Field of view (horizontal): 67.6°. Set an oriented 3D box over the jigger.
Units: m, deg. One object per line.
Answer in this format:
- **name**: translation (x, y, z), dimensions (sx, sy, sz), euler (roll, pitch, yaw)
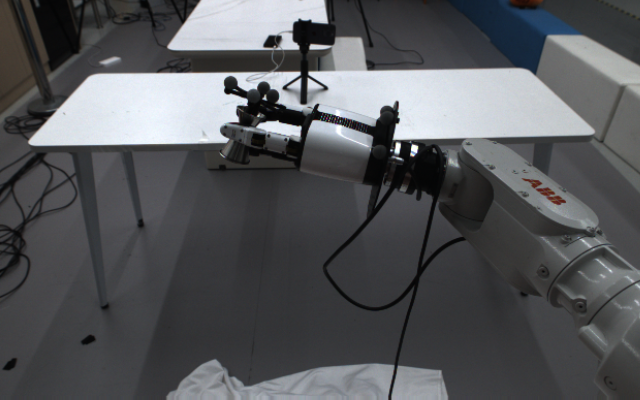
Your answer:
- **jigger**: translation (-0.104, -0.087, 0.643), dimensions (0.043, 0.071, 0.043), euler (23, 19, -8)
